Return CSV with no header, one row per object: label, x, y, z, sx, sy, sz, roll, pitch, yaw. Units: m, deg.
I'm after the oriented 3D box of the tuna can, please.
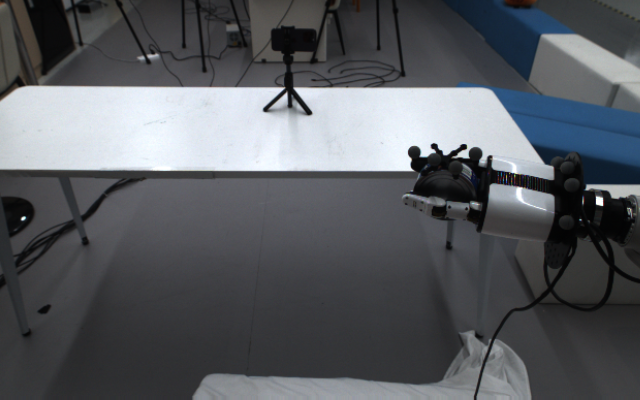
tuna can,0.177,-0.016,0.676,0.085,0.085,0.034,14,41,16
